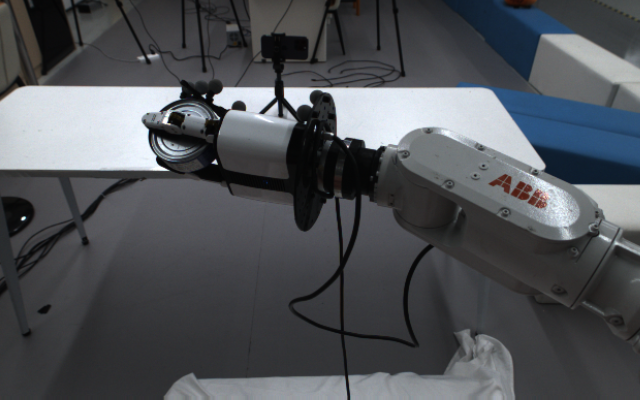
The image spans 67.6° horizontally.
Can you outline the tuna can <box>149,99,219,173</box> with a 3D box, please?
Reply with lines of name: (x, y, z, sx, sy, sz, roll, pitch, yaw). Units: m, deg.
tuna can: (-0.160, -0.078, 0.589, 0.085, 0.034, 0.085, -4, 67, 10)
